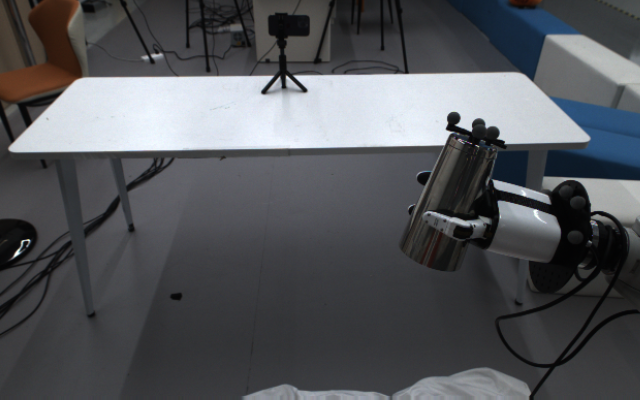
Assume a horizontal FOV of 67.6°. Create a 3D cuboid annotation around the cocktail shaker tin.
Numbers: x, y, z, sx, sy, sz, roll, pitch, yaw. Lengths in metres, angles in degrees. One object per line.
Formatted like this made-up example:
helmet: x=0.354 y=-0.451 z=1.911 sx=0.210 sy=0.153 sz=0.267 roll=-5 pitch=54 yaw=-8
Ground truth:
cocktail shaker tin: x=0.180 y=-0.001 z=0.662 sx=0.093 sy=0.170 sz=0.093 roll=14 pitch=19 yaw=-5
